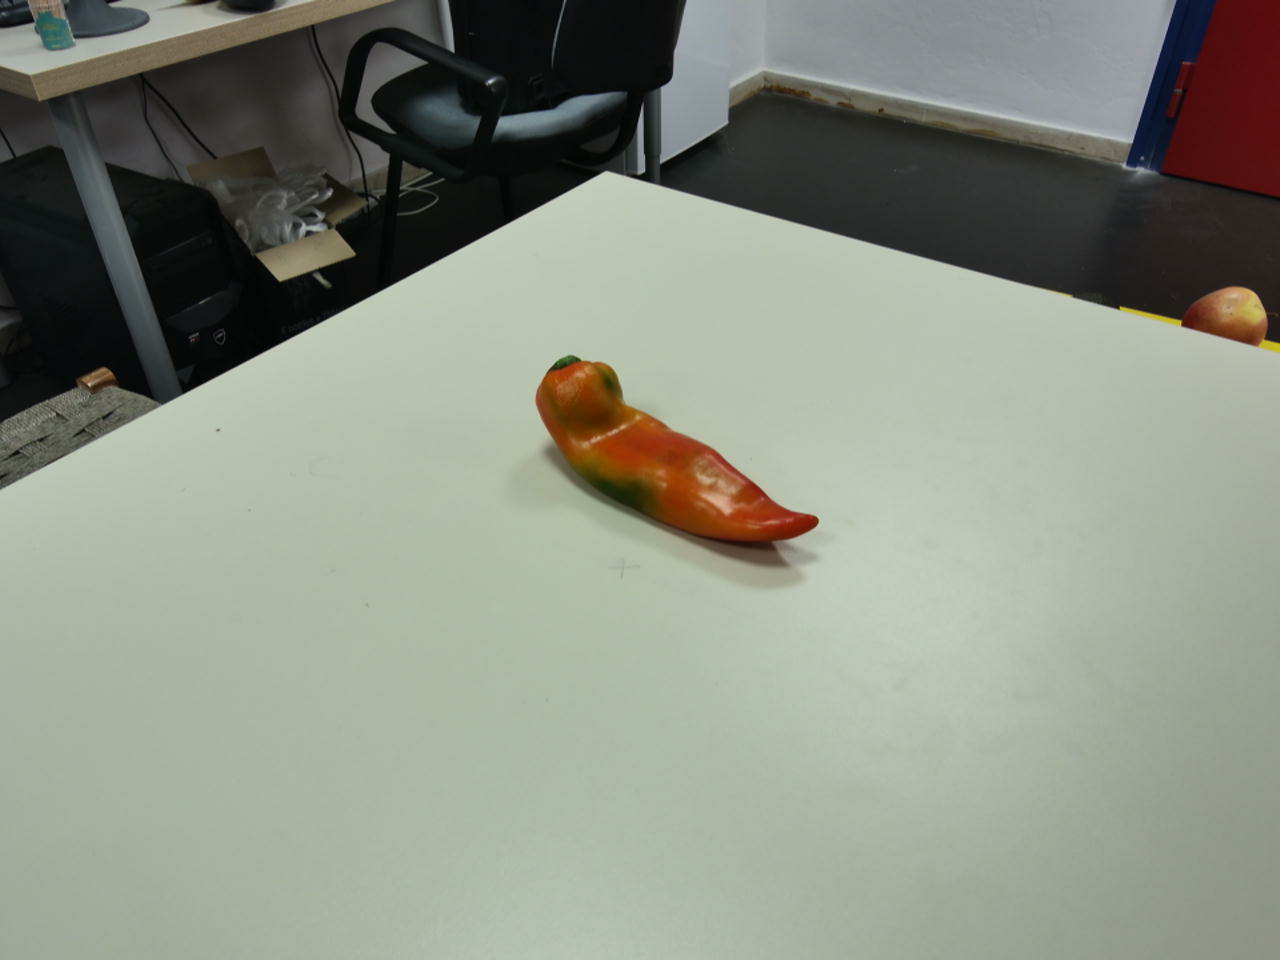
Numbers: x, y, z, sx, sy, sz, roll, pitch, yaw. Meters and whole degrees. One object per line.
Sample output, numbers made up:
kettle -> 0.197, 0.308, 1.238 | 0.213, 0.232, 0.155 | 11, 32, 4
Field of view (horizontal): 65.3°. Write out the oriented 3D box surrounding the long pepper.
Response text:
long pepper -> 0.016, -0.017, 0.592 | 0.199, 0.065, 0.066 | 28, 46, 33
